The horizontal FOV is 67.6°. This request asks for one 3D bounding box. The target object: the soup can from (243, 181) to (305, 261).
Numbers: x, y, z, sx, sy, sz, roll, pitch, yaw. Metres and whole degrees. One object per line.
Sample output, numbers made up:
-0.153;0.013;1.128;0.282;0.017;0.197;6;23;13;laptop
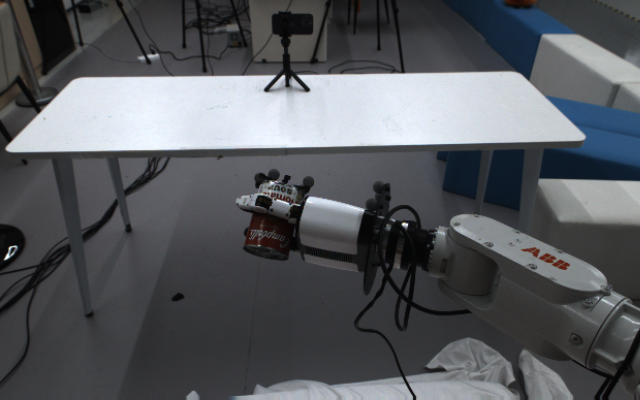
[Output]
-0.067;0.031;0.707;0.067;0.067;0.101;9;71;9;soup can
